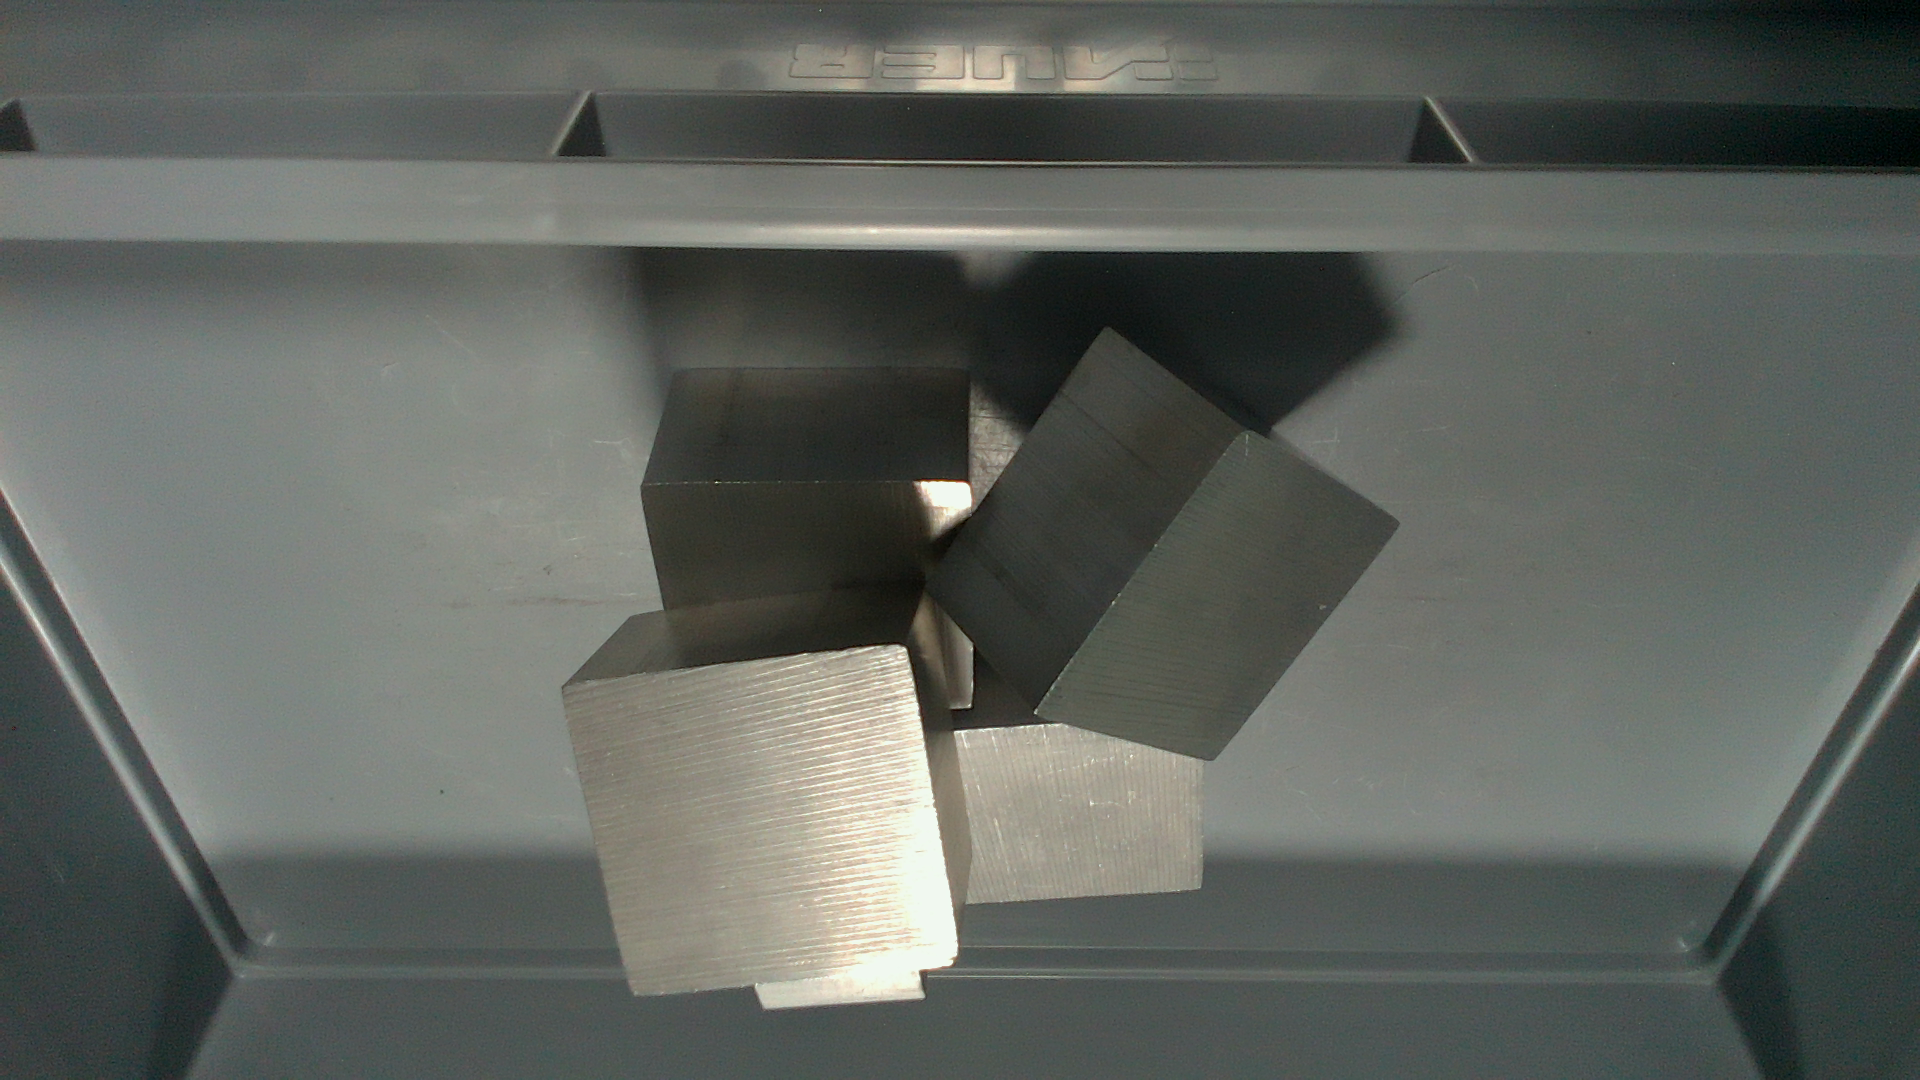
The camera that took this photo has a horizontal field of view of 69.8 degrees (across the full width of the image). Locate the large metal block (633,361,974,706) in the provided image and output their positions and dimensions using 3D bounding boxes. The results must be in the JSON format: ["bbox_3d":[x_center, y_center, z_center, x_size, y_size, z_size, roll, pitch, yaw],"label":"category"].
[{"bbox_3d":[-0.037,0.000,0.373,0.080,0.050,0.080,-1,130,1],"label":"large metal block"}]

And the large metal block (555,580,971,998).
[{"bbox_3d":[-0.043,0.059,0.337,0.080,0.050,0.080,-7,105,6],"label":"large metal block"}]

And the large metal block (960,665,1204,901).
[{"bbox_3d":[0.032,0.065,0.425,0.080,0.050,0.080,-4,130,3],"label":"large metal block"}]

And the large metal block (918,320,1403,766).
[{"bbox_3d":[0.051,0.004,0.343,0.080,0.050,0.080,21,108,-46],"label":"large metal block"}]

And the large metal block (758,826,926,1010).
[{"bbox_3d":[-0.040,0.086,0.425,0.050,0.080,0.080,-5,130,4],"label":"large metal block"}]
